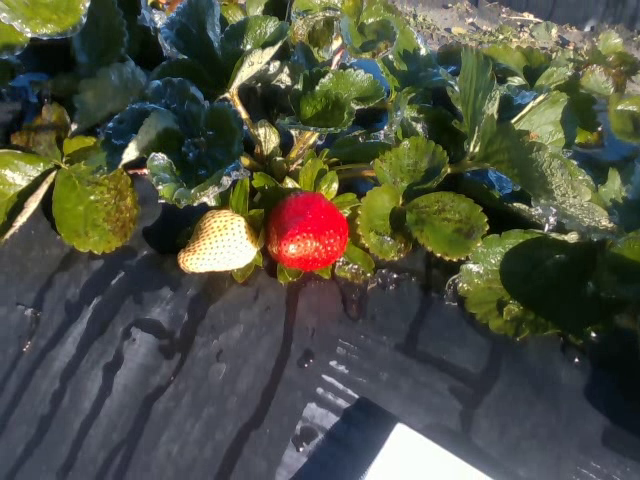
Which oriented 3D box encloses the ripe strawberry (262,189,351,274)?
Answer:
[{"bbox_3d":[-0.009,0.002,0.309,0.042,0.046,0.061,14,18,16],"label":"ripe strawberry"}]
